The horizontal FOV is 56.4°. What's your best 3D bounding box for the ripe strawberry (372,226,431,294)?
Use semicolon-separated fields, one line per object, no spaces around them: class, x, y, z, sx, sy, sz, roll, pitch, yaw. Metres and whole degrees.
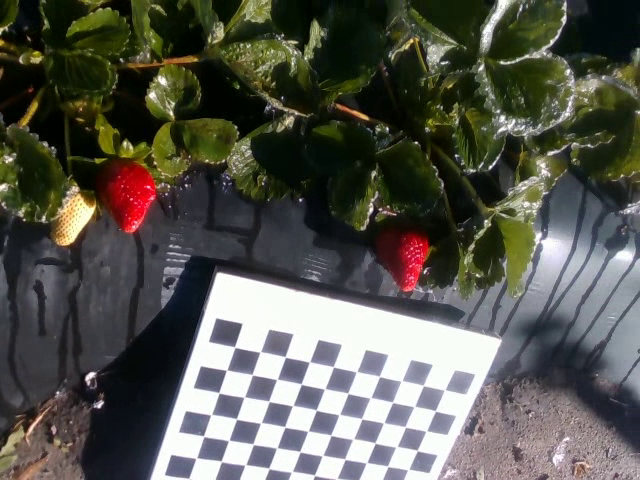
ripe strawberry;0.071;0.018;0.504;0.048;0.061;0.044;8;-14;-15

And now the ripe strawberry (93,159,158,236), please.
ripe strawberry;-0.145;-0.028;0.448;0.042;0.061;0.046;1;-22;-12
